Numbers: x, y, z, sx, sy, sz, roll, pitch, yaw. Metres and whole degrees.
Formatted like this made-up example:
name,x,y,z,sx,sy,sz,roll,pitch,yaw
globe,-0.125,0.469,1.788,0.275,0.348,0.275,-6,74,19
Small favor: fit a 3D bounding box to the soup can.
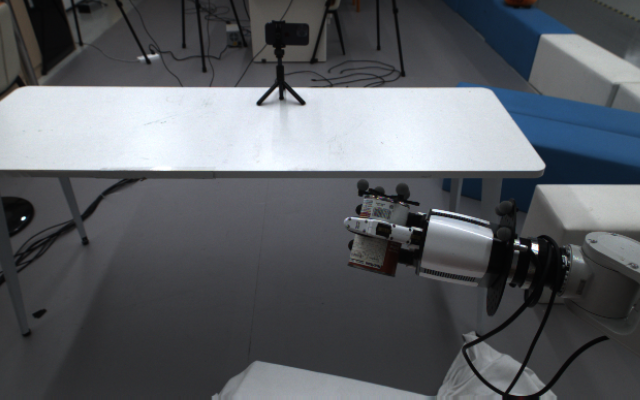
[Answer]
name,x,y,z,sx,sy,sz,roll,pitch,yaw
soup can,0.085,0.050,0.677,0.067,0.101,0.067,13,-6,1
